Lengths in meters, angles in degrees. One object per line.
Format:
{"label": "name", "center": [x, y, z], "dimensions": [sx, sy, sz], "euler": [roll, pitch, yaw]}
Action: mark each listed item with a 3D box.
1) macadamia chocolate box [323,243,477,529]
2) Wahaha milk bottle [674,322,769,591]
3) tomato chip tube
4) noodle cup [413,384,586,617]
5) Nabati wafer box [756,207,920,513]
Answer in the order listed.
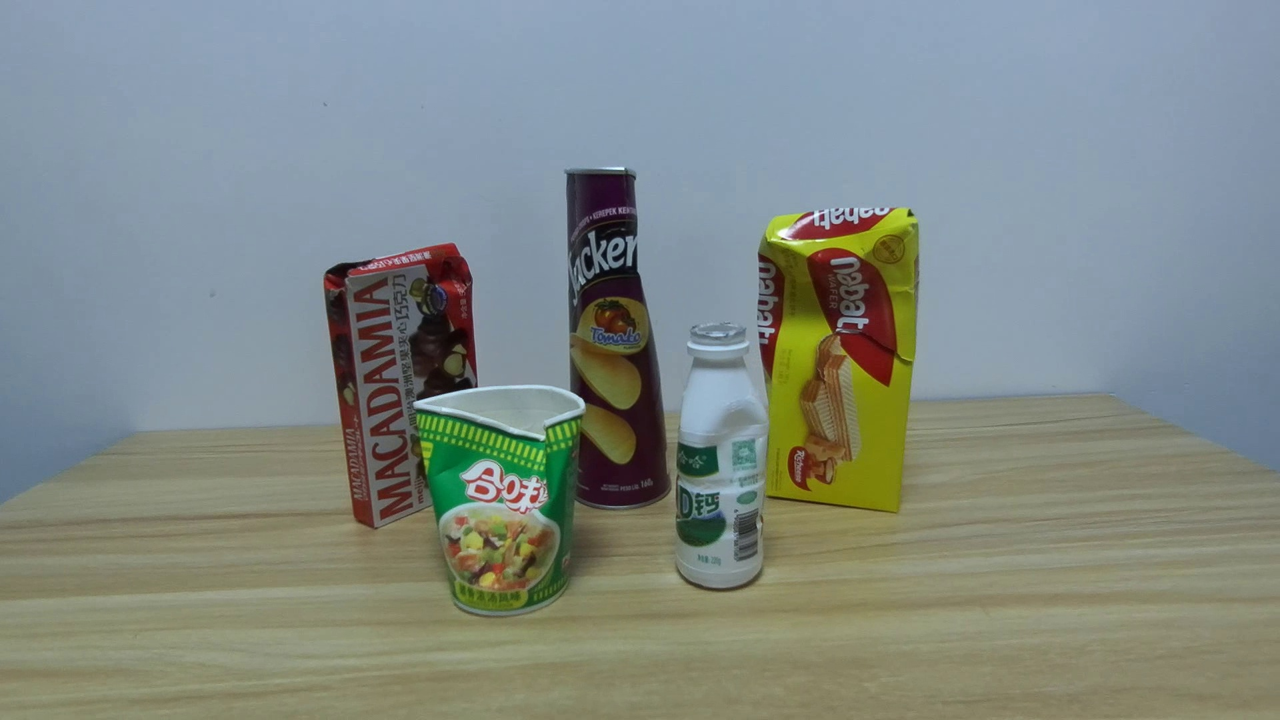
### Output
{"label": "macadamia chocolate box", "center": [-0.159, 0.016, 0.500], "dimensions": [0.027, 0.187, 0.103], "euler": [16, 23, 38]}
{"label": "Wahaha milk bottle", "center": [0.043, 0.054, 0.401], "dimensions": [0.055, 0.149, 0.055], "euler": [-3, 15, 1]}
{"label": "tomato chip tube", "center": [-0.016, -0.016, 0.506], "dimensions": [0.076, 0.235, 0.078], "euler": [6, 15, 29]}
{"label": "noodle cup", "center": [-0.075, 0.078, 0.404], "dimensions": [0.075, 0.122, 0.082], "euler": [-5, 5, -40]}
{"label": "Nabati wafer box", "center": [0.132, 0.000, 0.485], "dimensions": [0.106, 0.204, 0.042], "euler": [3, 17, 20]}
